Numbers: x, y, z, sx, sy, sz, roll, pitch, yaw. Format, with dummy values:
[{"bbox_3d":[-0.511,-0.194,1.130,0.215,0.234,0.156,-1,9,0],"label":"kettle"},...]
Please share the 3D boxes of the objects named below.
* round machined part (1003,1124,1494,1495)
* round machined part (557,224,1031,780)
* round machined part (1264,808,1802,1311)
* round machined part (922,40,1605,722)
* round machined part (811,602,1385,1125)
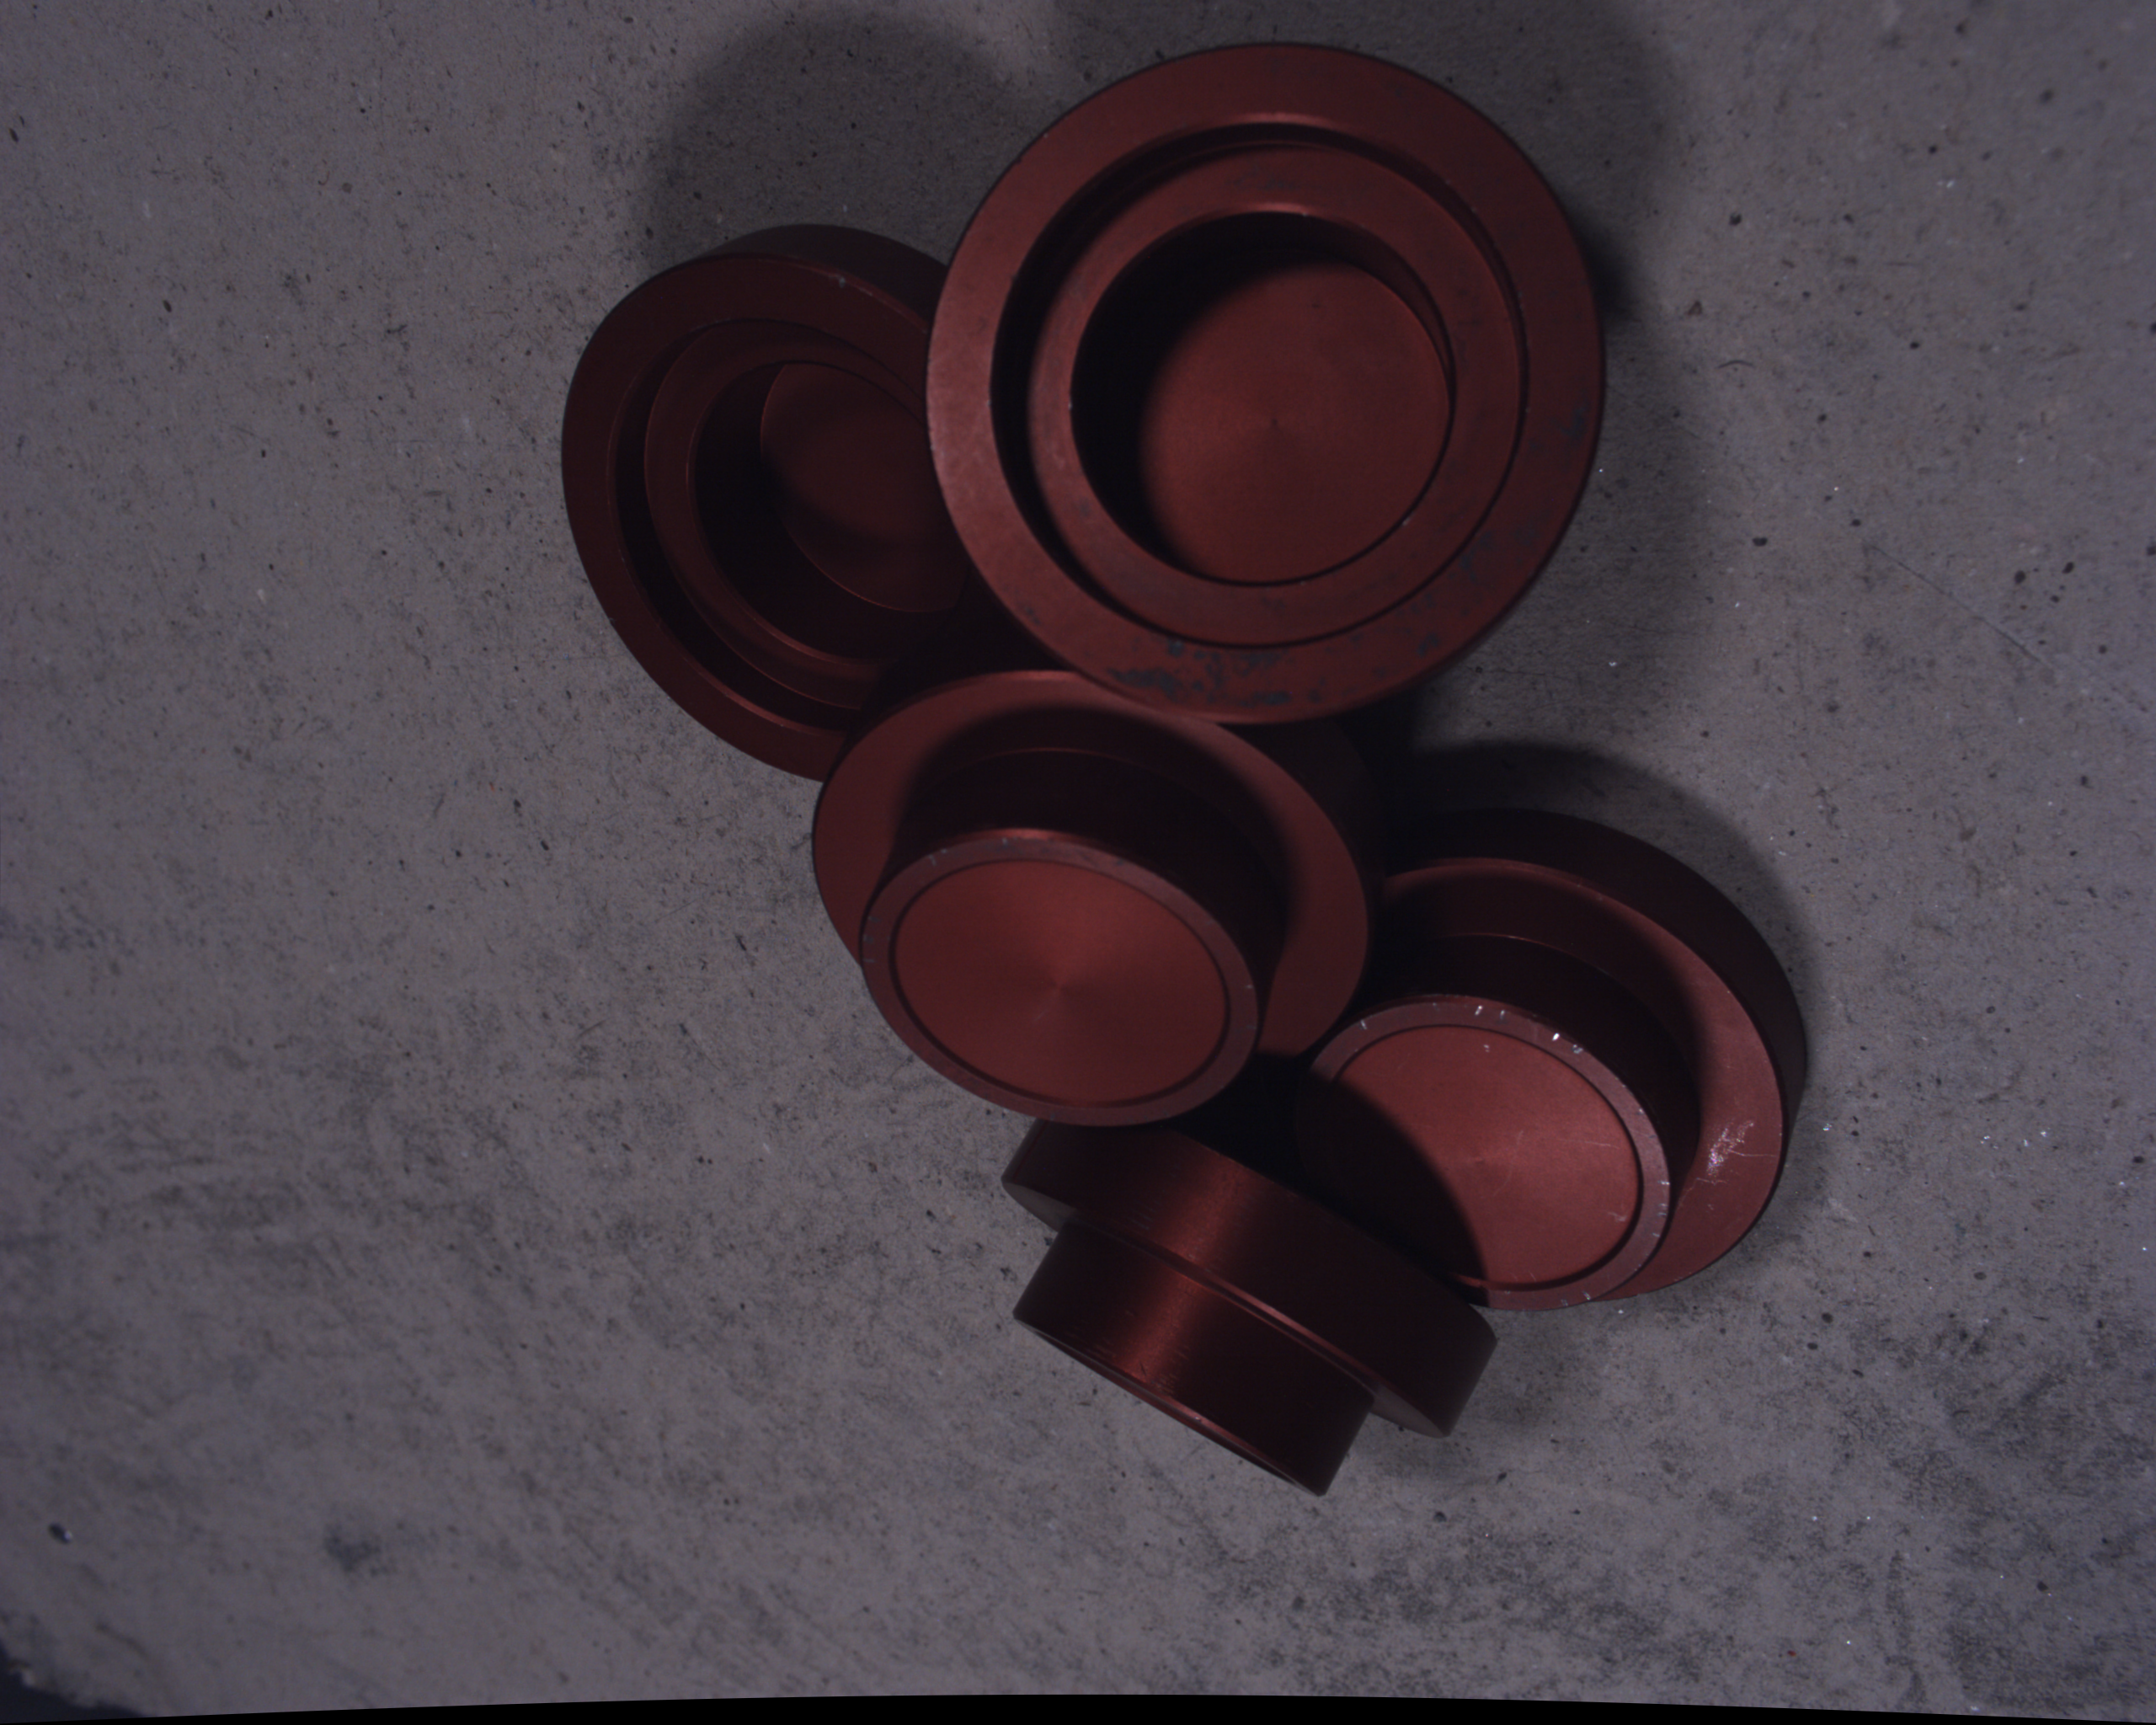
[{"bbox_3d":[0.027,0.087,0.403,0.098,0.042,0.098,29,167,8],"label":"round machined part"},{"bbox_3d":[-0.041,-0.066,0.376,0.098,0.042,0.097,13,124,20],"label":"round machined part"},{"bbox_3d":[0.078,0.042,0.381,0.098,0.042,0.097,13,124,20],"label":"round machined part"},{"bbox_3d":[0.029,-0.070,0.320,0.098,0.042,0.097,0,92,10],"label":"round machined part"},{"bbox_3d":[0.001,0.007,0.357,0.098,0.042,0.097,9,131,10],"label":"round machined part"}]
